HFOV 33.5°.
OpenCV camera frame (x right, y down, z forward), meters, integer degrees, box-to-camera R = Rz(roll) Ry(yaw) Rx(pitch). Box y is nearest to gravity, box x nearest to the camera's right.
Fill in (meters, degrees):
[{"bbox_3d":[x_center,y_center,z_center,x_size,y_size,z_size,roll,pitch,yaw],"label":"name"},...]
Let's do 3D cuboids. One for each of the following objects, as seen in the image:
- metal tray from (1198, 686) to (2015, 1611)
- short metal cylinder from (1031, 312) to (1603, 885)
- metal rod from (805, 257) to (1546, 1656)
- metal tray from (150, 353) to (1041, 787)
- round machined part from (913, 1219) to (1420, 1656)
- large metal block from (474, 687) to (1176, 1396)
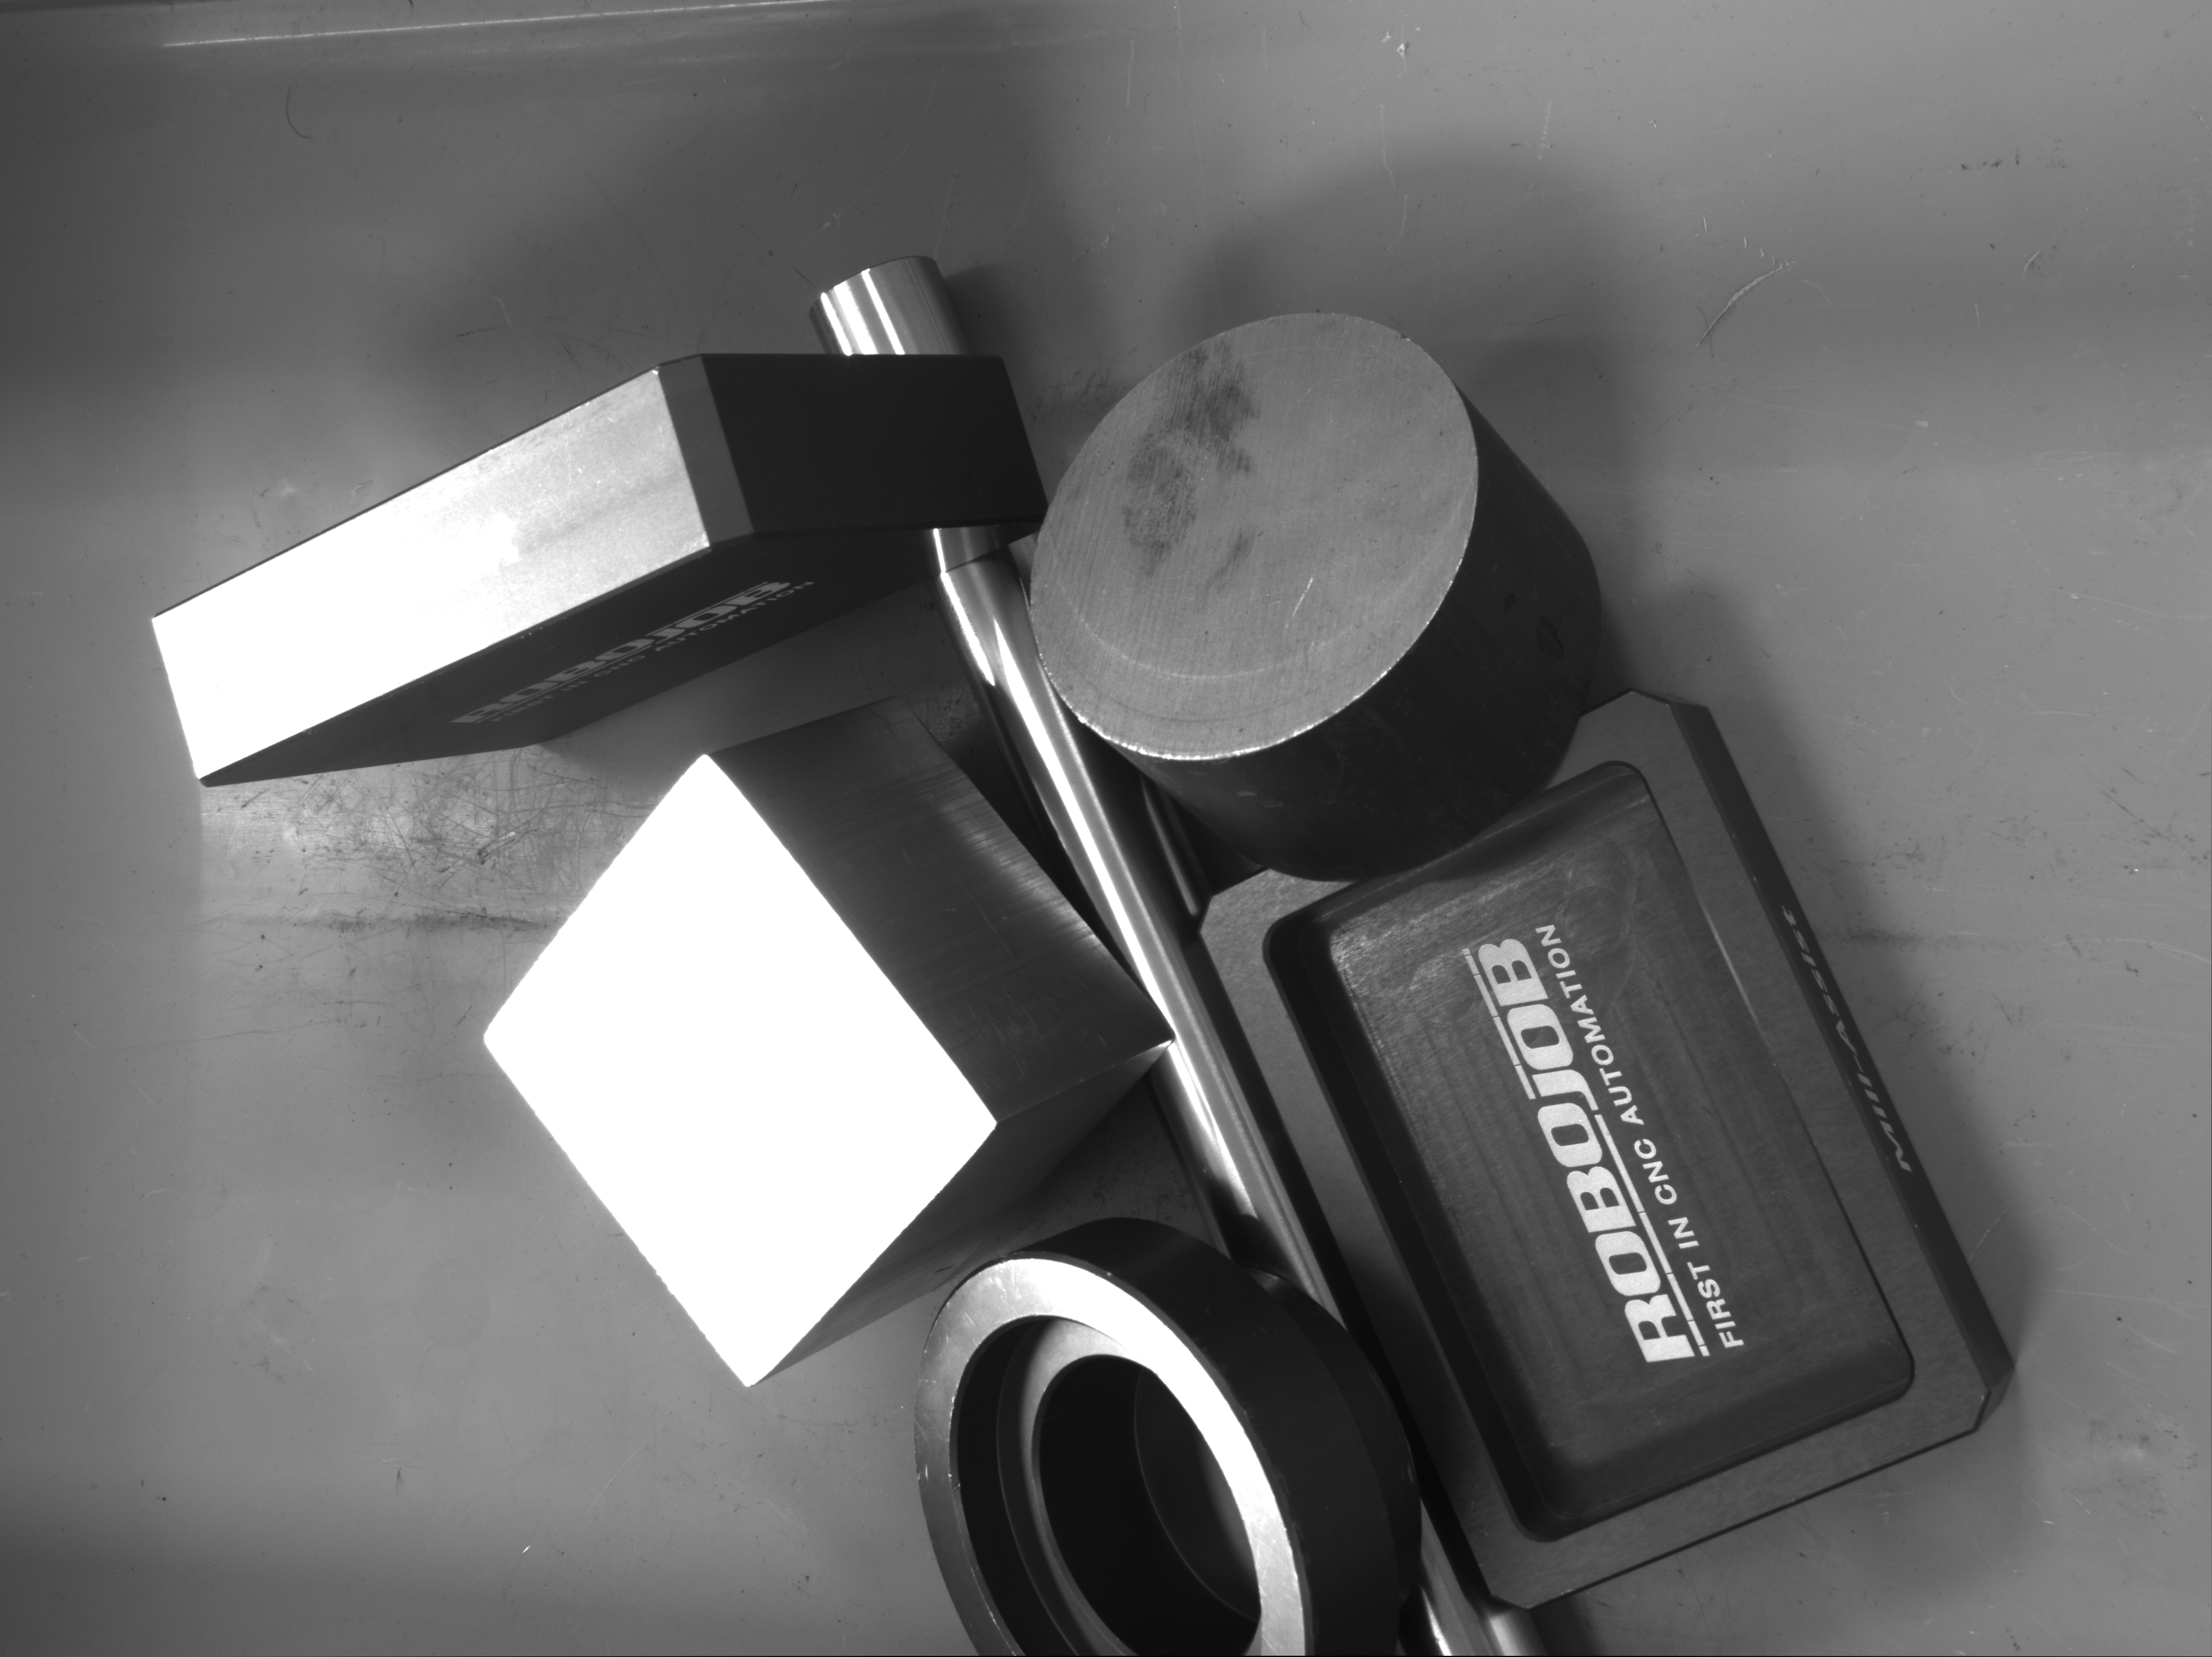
[{"bbox_3d":[0.082,0.053,0.613,0.090,0.030,0.130,-26,81,18],"label":"metal tray"},{"bbox_3d":[0.035,-0.037,0.604,0.080,0.050,0.080,-14,59,26],"label":"short metal cylinder"},{"bbox_3d":[0.017,0.039,0.639,0.025,0.025,0.300,-26,81,18],"label":"metal rod"},{"bbox_3d":[-0.087,-0.044,0.627,0.130,0.090,0.030,-20,85,33],"label":"metal tray"},{"bbox_3d":[0.014,0.112,0.616,0.098,0.042,0.098,20,118,44],"label":"round machined part"},{"bbox_3d":[-0.049,0.036,0.631,0.080,0.050,0.080,50,123,13],"label":"large metal block"}]
